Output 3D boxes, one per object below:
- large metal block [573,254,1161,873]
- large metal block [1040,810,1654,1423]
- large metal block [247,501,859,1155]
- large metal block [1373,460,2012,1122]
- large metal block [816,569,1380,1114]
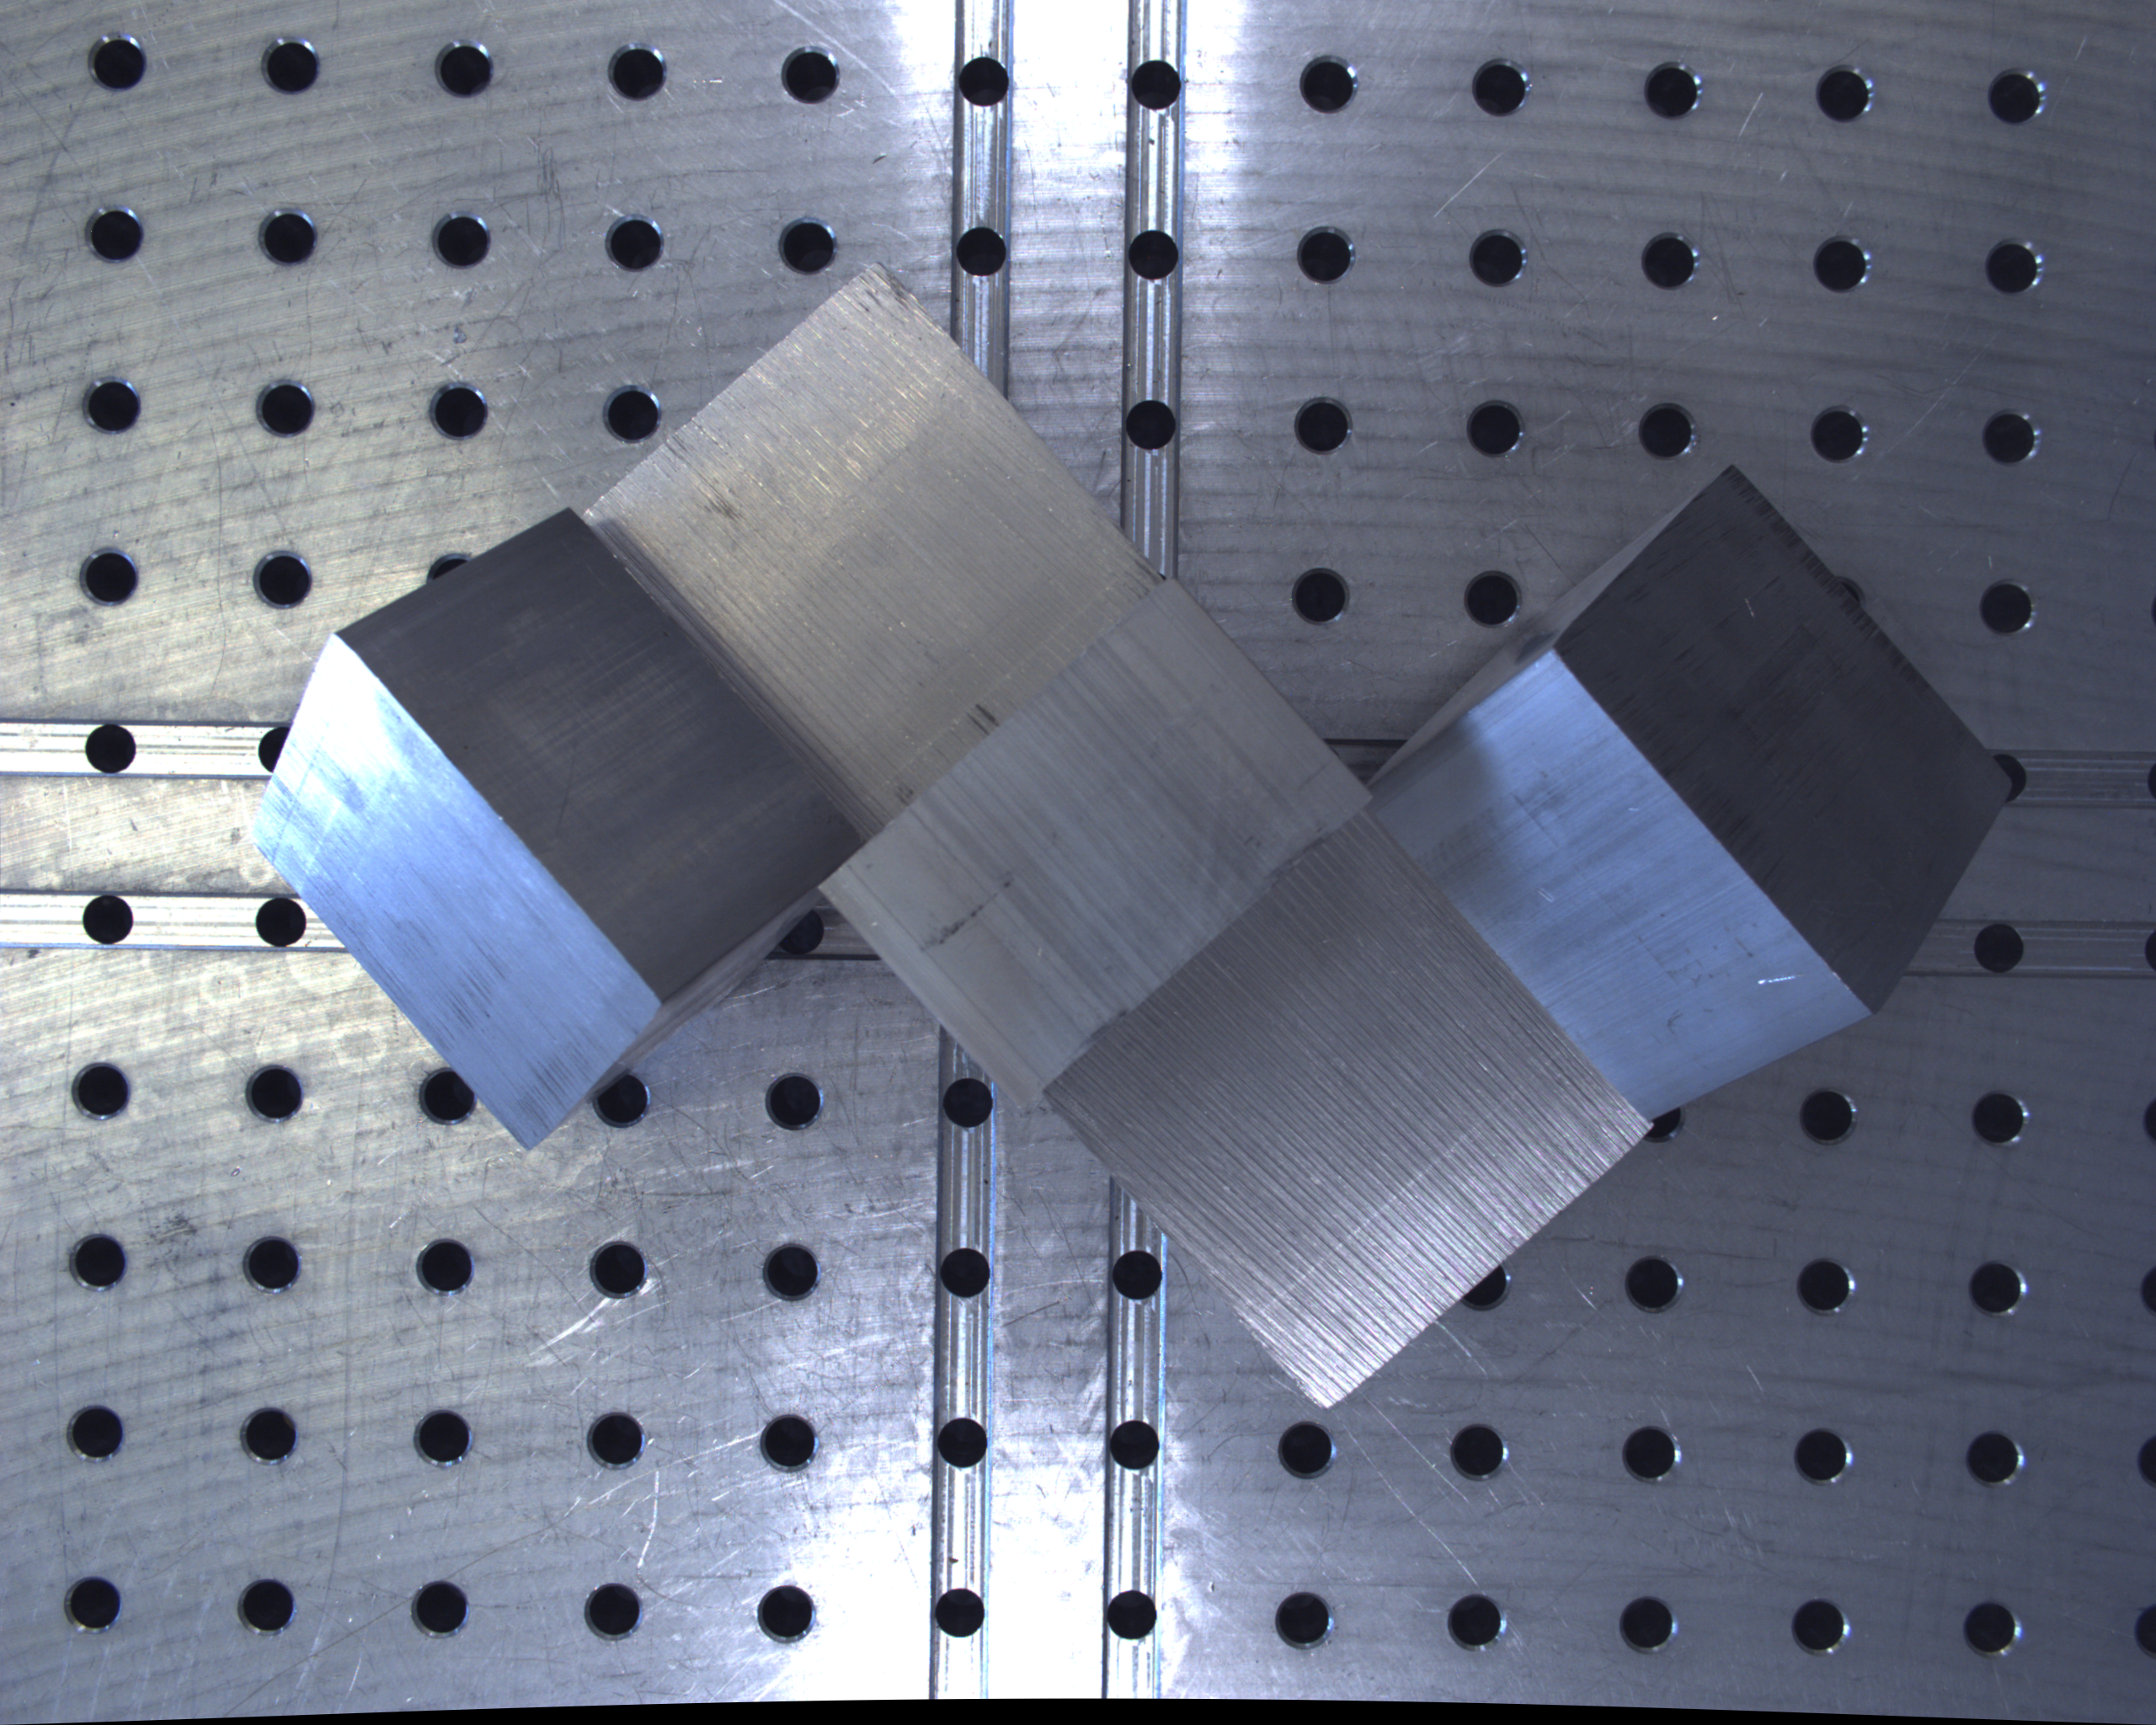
[{"bbox_3d":[-0.039,-0.054,0.400,0.080,0.050,0.080,-42,91,1],"label":"large metal block"},{"bbox_3d":[0.047,0.045,0.401,0.080,0.050,0.080,-41,89,0],"label":"large metal block"},{"bbox_3d":[-0.096,-0.004,0.378,0.080,0.080,0.050,49,51,0],"label":"large metal block"},{"bbox_3d":[0.112,-0.014,0.380,0.080,0.050,0.080,49,50,-1],"label":"large metal block"},{"bbox_3d":[0.003,-0.004,0.385,0.080,0.080,0.050,-42,91,0],"label":"large metal block"}]
